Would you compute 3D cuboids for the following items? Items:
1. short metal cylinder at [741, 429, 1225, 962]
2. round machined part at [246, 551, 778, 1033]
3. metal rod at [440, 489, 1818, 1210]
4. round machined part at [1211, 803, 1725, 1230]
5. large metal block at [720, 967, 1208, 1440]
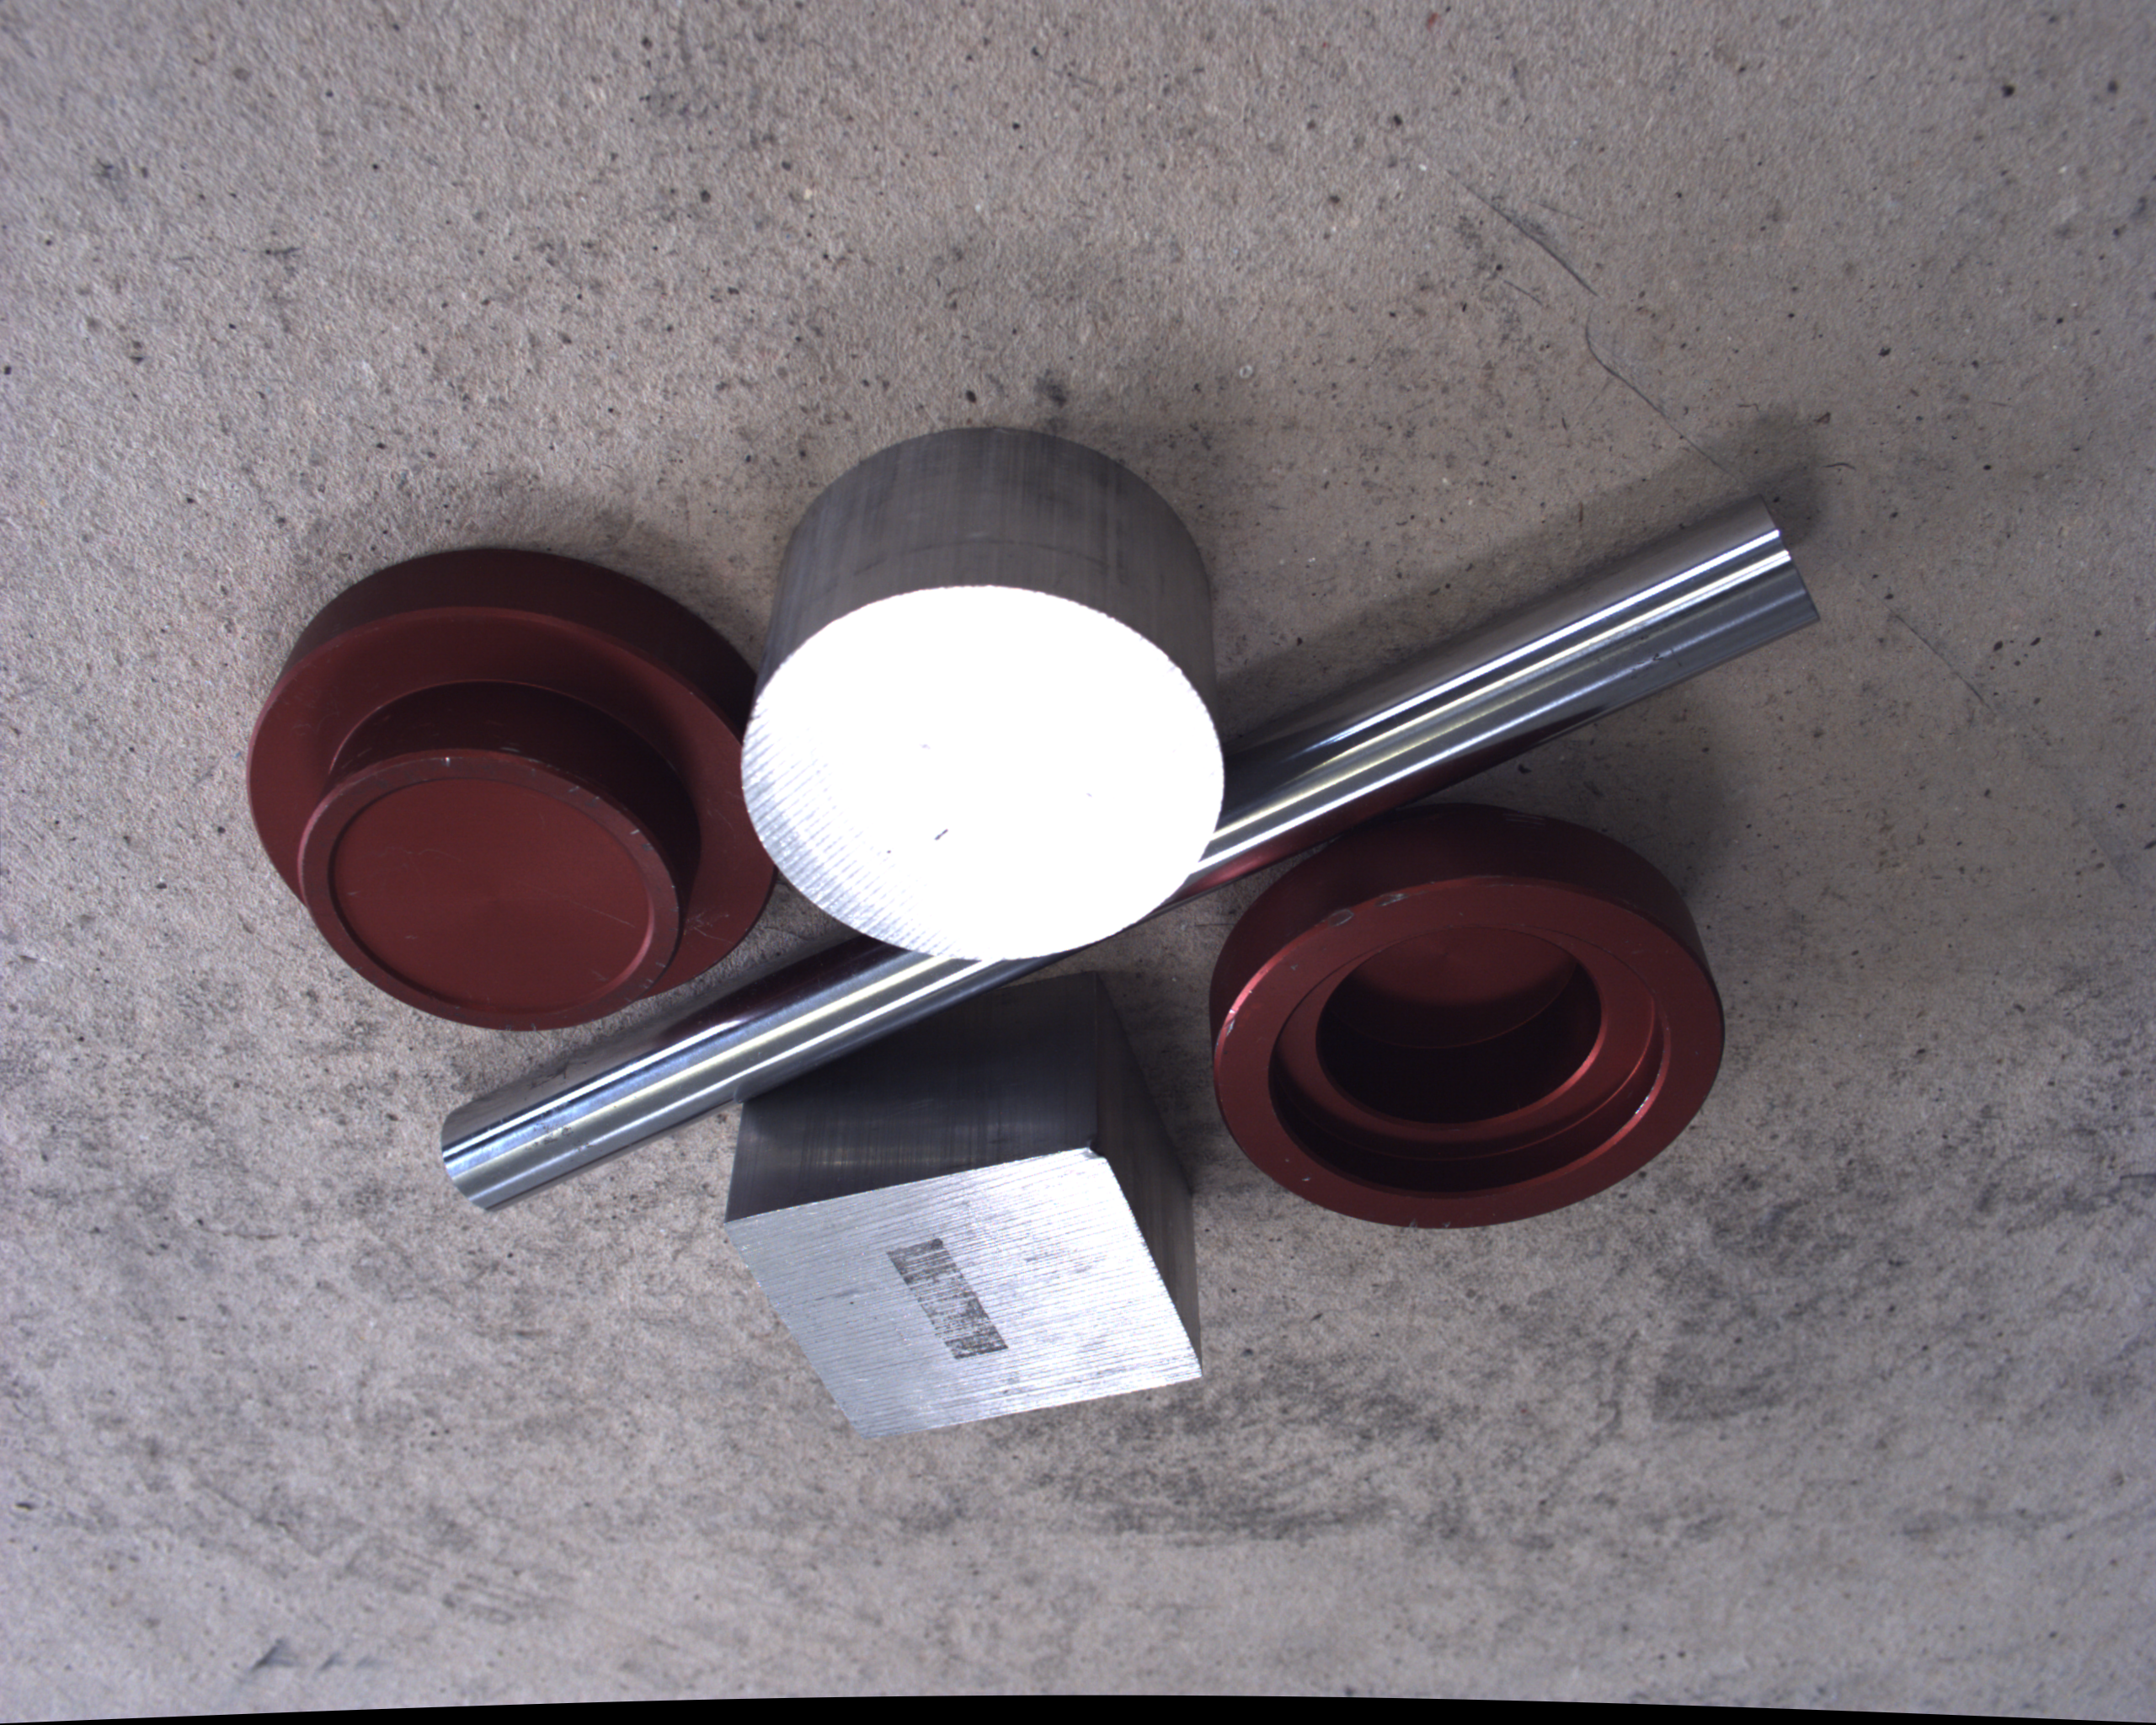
[{"bbox_3d":[-0.016,-0.029,0.367,0.081,0.050,0.079,0,130,0],"label":"short metal cylinder"},{"bbox_3d":[-0.105,-0.006,0.391,0.099,0.042,0.097,0,130,0],"label":"round machined part"},{"bbox_3d":[-0.004,0.006,0.414,0.300,0.025,0.025,-25,126,19],"label":"metal rod"},{"bbox_3d":[0.076,0.027,0.421,0.099,0.042,0.097,0,130,0],"label":"round machined part"},{"bbox_3d":[-0.022,0.076,0.458,0.080,0.050,0.080,-13,129,11],"label":"large metal block"}]
